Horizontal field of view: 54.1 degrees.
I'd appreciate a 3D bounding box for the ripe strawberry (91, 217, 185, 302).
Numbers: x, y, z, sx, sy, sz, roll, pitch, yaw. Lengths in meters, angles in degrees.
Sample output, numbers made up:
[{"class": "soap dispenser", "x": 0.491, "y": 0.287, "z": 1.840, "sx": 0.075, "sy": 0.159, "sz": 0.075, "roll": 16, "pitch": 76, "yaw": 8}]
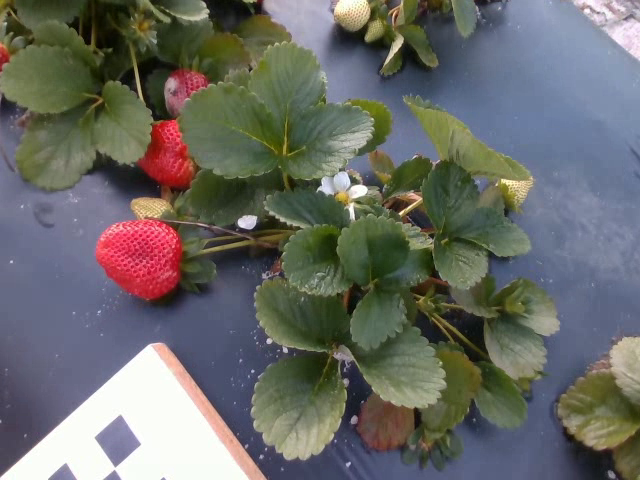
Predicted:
[{"class": "ripe strawberry", "x": -0.053, "y": 0.005, "z": 0.176, "sx": 0.022, "sy": 0.025, "sz": 0.030, "roll": 33, "pitch": 9, "yaw": 39}]
